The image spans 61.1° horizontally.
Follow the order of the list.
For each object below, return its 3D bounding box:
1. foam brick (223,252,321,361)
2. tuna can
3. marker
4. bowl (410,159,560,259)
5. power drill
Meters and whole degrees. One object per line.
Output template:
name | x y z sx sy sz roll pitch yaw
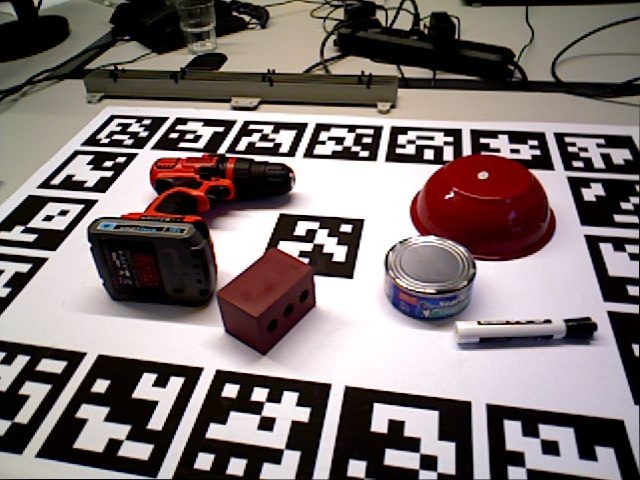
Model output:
foam brick | -0.042 0.059 0.491 0.051 0.054 0.076 23 48 26
tuna can | 0.110 0.033 0.511 0.085 0.034 0.084 -1 41 0
marker | 0.186 0.077 0.462 0.121 0.020 0.019 -2 42 2
bowl | 0.181 -0.045 0.597 0.161 0.056 0.159 -4 33 2
power drill | -0.136 -0.025 0.590 0.184 0.058 0.183 6 39 6
